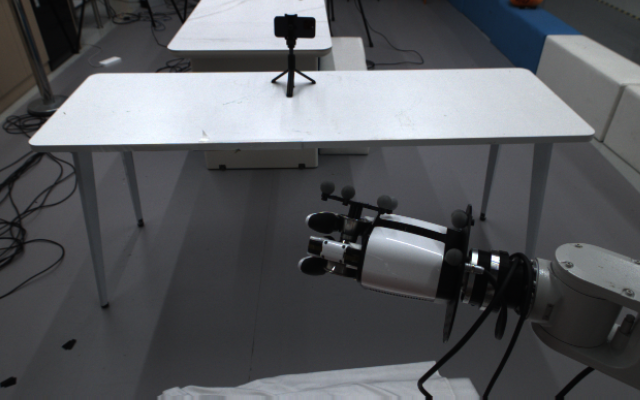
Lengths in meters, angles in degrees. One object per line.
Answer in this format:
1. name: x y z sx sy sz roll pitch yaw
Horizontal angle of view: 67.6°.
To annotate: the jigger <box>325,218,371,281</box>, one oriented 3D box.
1. jigger: 0.036 0.054 0.581 0.043 0.071 0.043 14 1 0
